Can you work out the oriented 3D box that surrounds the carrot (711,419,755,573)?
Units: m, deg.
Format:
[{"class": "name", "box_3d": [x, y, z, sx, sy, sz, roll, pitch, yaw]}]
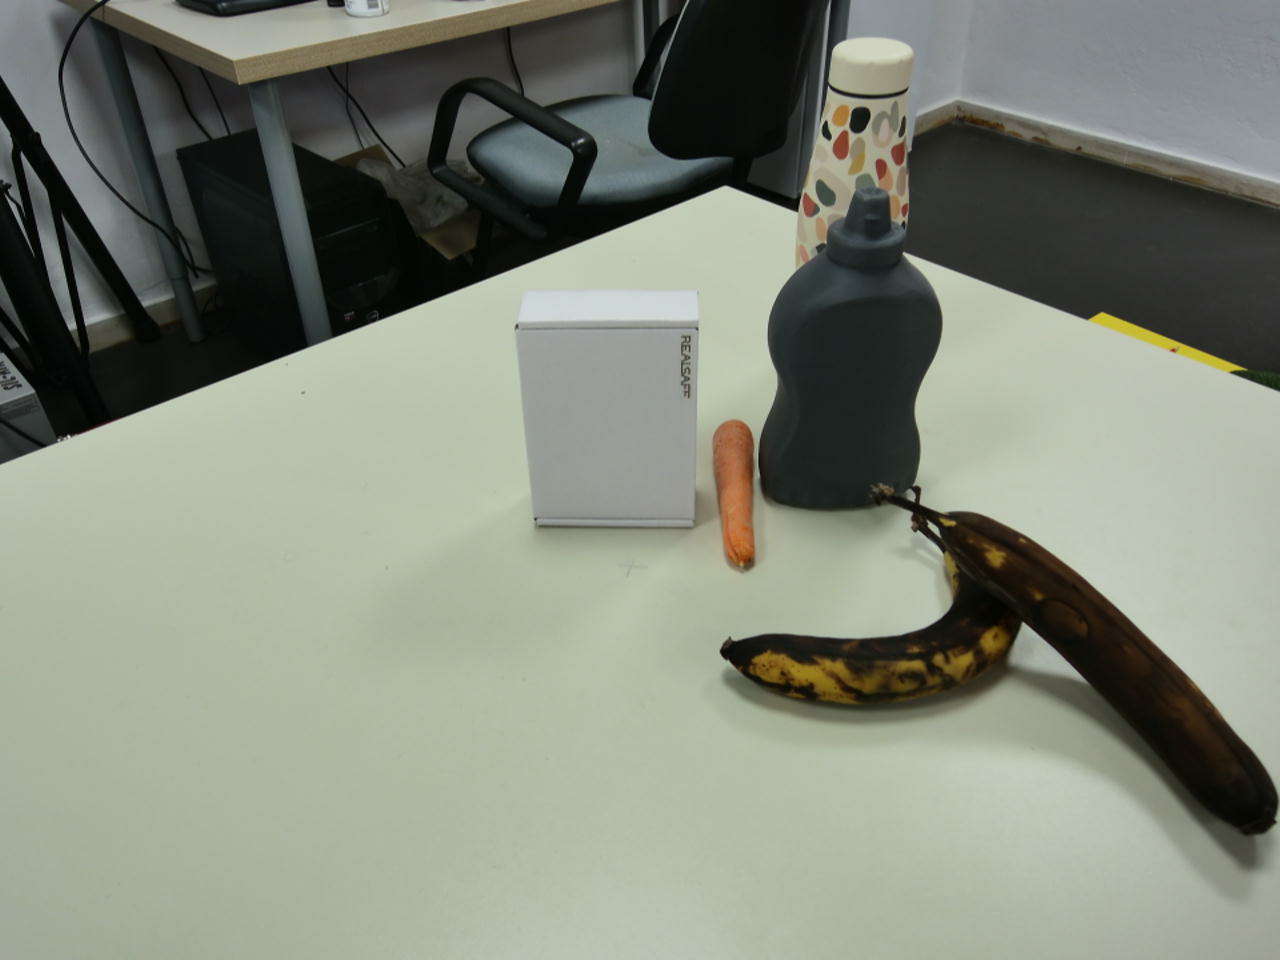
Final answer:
[{"class": "carrot", "box_3d": [0.061, 0.006, 0.642, 0.030, 0.032, 0.136, 1, 36, 3]}]
